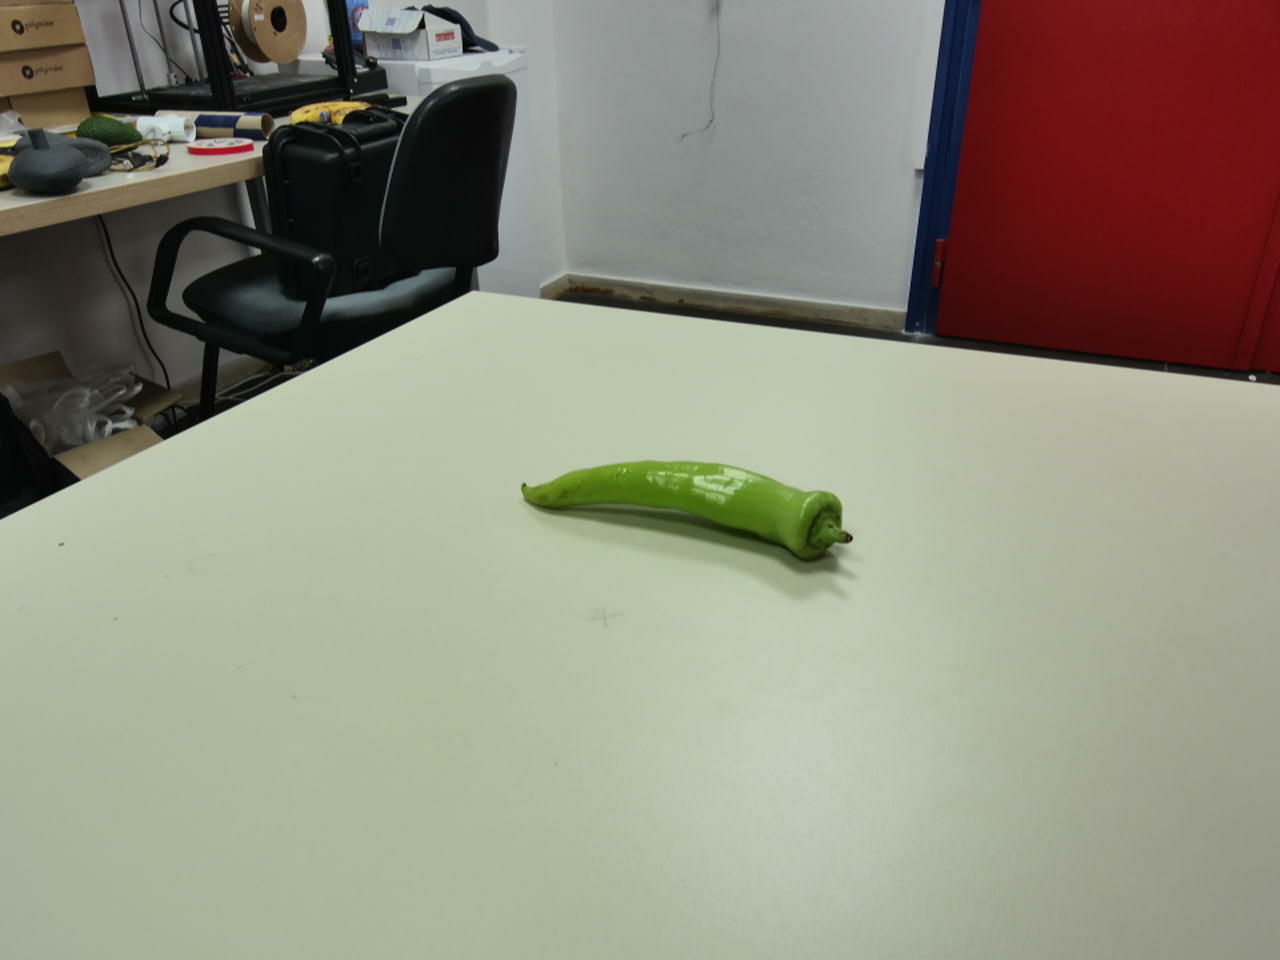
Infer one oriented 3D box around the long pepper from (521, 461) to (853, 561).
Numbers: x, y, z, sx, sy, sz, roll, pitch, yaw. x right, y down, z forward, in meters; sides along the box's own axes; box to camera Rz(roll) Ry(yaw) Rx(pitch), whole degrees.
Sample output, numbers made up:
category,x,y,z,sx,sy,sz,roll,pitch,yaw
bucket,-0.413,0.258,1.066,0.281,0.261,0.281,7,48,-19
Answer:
category,x,y,z,sx,sy,sz,roll,pitch,yaw
long pepper,0.023,0.008,0.542,0.197,0.038,0.046,12,28,25
